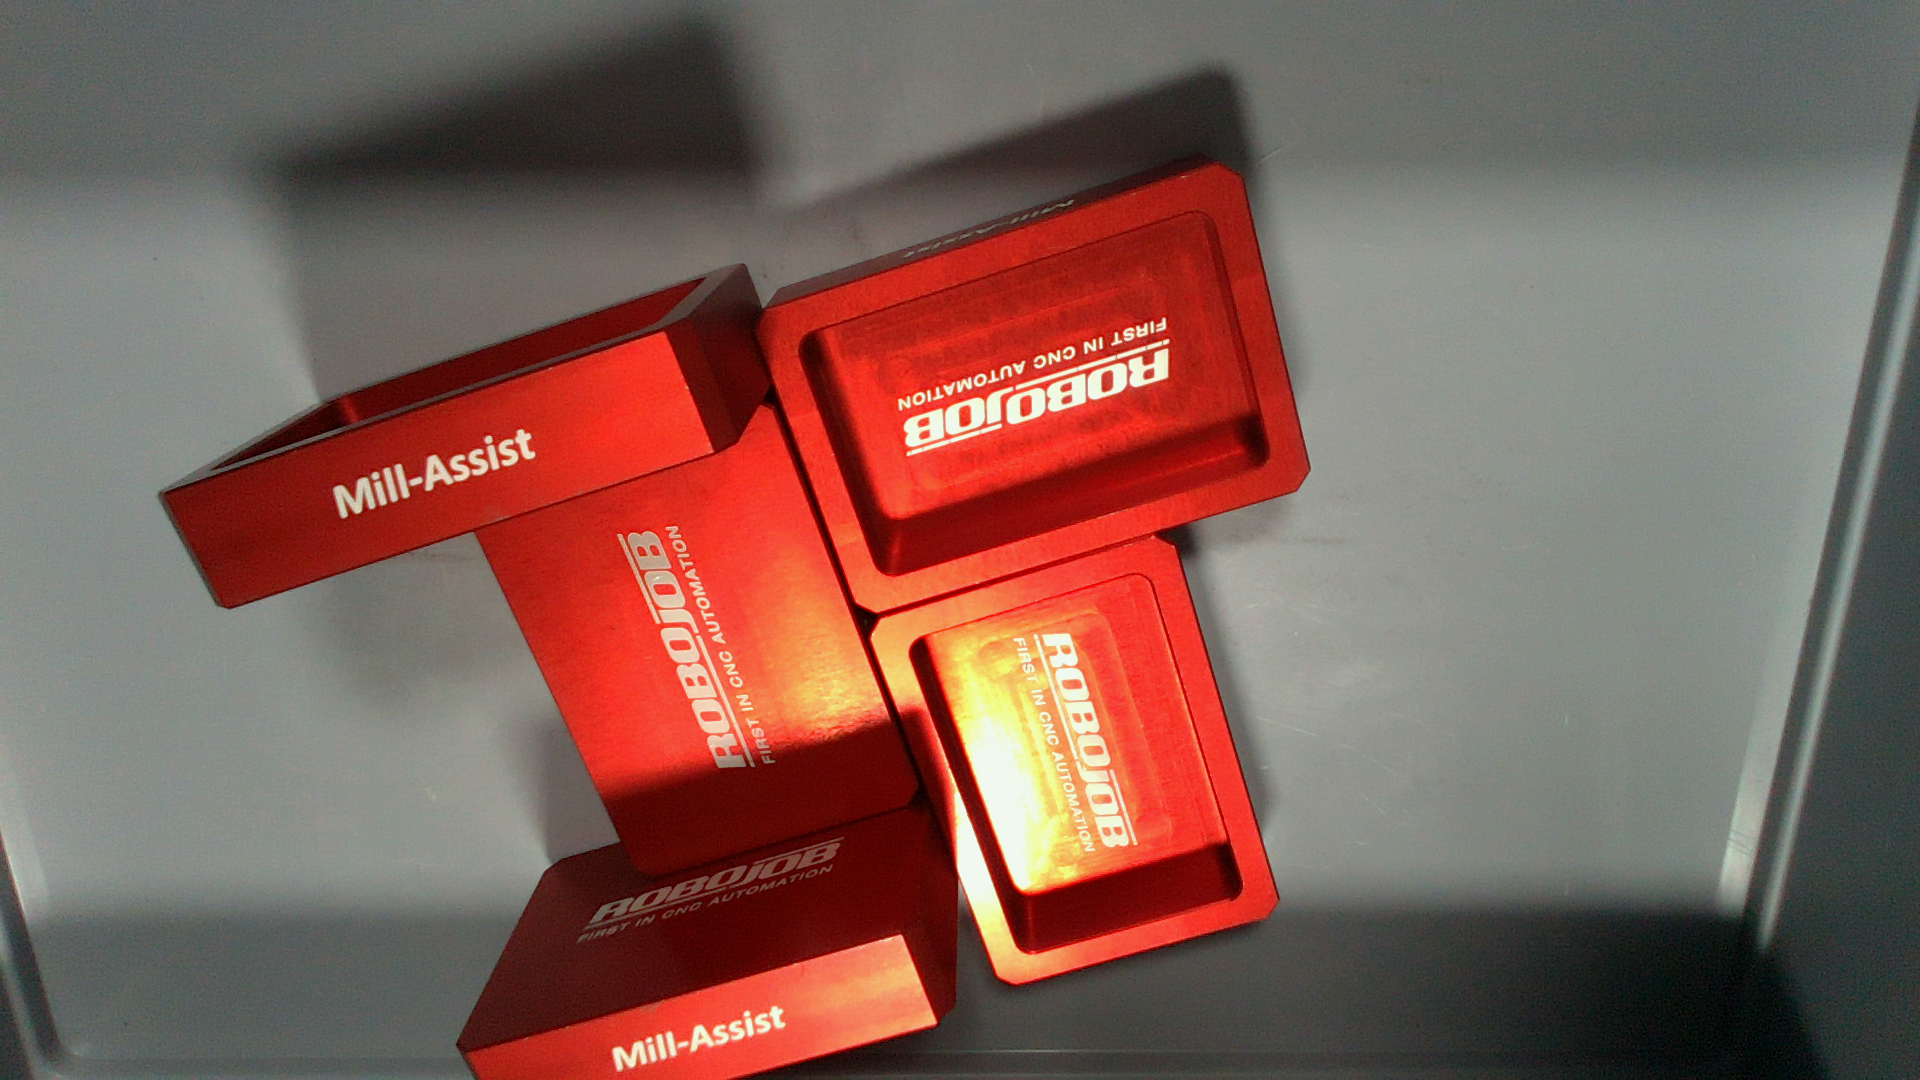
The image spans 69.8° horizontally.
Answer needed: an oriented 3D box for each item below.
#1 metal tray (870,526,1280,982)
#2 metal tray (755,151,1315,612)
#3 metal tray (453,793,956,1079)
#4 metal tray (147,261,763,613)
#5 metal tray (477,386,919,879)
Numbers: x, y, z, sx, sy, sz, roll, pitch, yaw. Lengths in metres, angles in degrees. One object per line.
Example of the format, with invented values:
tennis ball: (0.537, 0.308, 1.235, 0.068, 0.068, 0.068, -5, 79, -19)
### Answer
metal tray: (0.036, 0.063, 0.413, 0.090, 0.030, 0.130, -17, 109, 6)
metal tray: (0.021, -0.042, 0.375, 0.130, 0.030, 0.090, -16, 109, 6)
metal tray: (-0.067, 0.115, 0.399, 0.130, 0.090, 0.030, -16, 109, 6)
metal tray: (-0.116, -0.029, 0.345, 0.130, 0.090, 0.030, -17, 109, 6)
metal tray: (-0.073, 0.027, 0.398, 0.090, 0.030, 0.130, -17, 109, 6)
